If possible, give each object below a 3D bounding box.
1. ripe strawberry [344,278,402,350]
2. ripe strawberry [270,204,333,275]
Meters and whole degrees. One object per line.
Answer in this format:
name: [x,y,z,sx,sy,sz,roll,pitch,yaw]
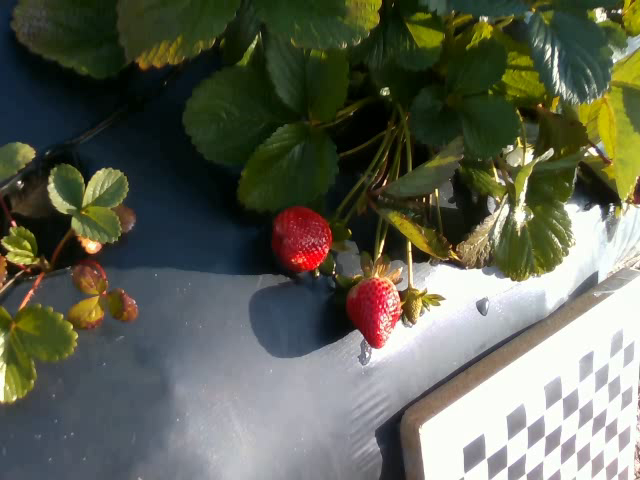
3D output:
ripe strawberry: [0.039,0.048,0.391,0.038,0.053,0.043,-31,-45,31]
ripe strawberry: [-0.012,0.000,0.386,0.039,0.048,0.054,9,9,29]
